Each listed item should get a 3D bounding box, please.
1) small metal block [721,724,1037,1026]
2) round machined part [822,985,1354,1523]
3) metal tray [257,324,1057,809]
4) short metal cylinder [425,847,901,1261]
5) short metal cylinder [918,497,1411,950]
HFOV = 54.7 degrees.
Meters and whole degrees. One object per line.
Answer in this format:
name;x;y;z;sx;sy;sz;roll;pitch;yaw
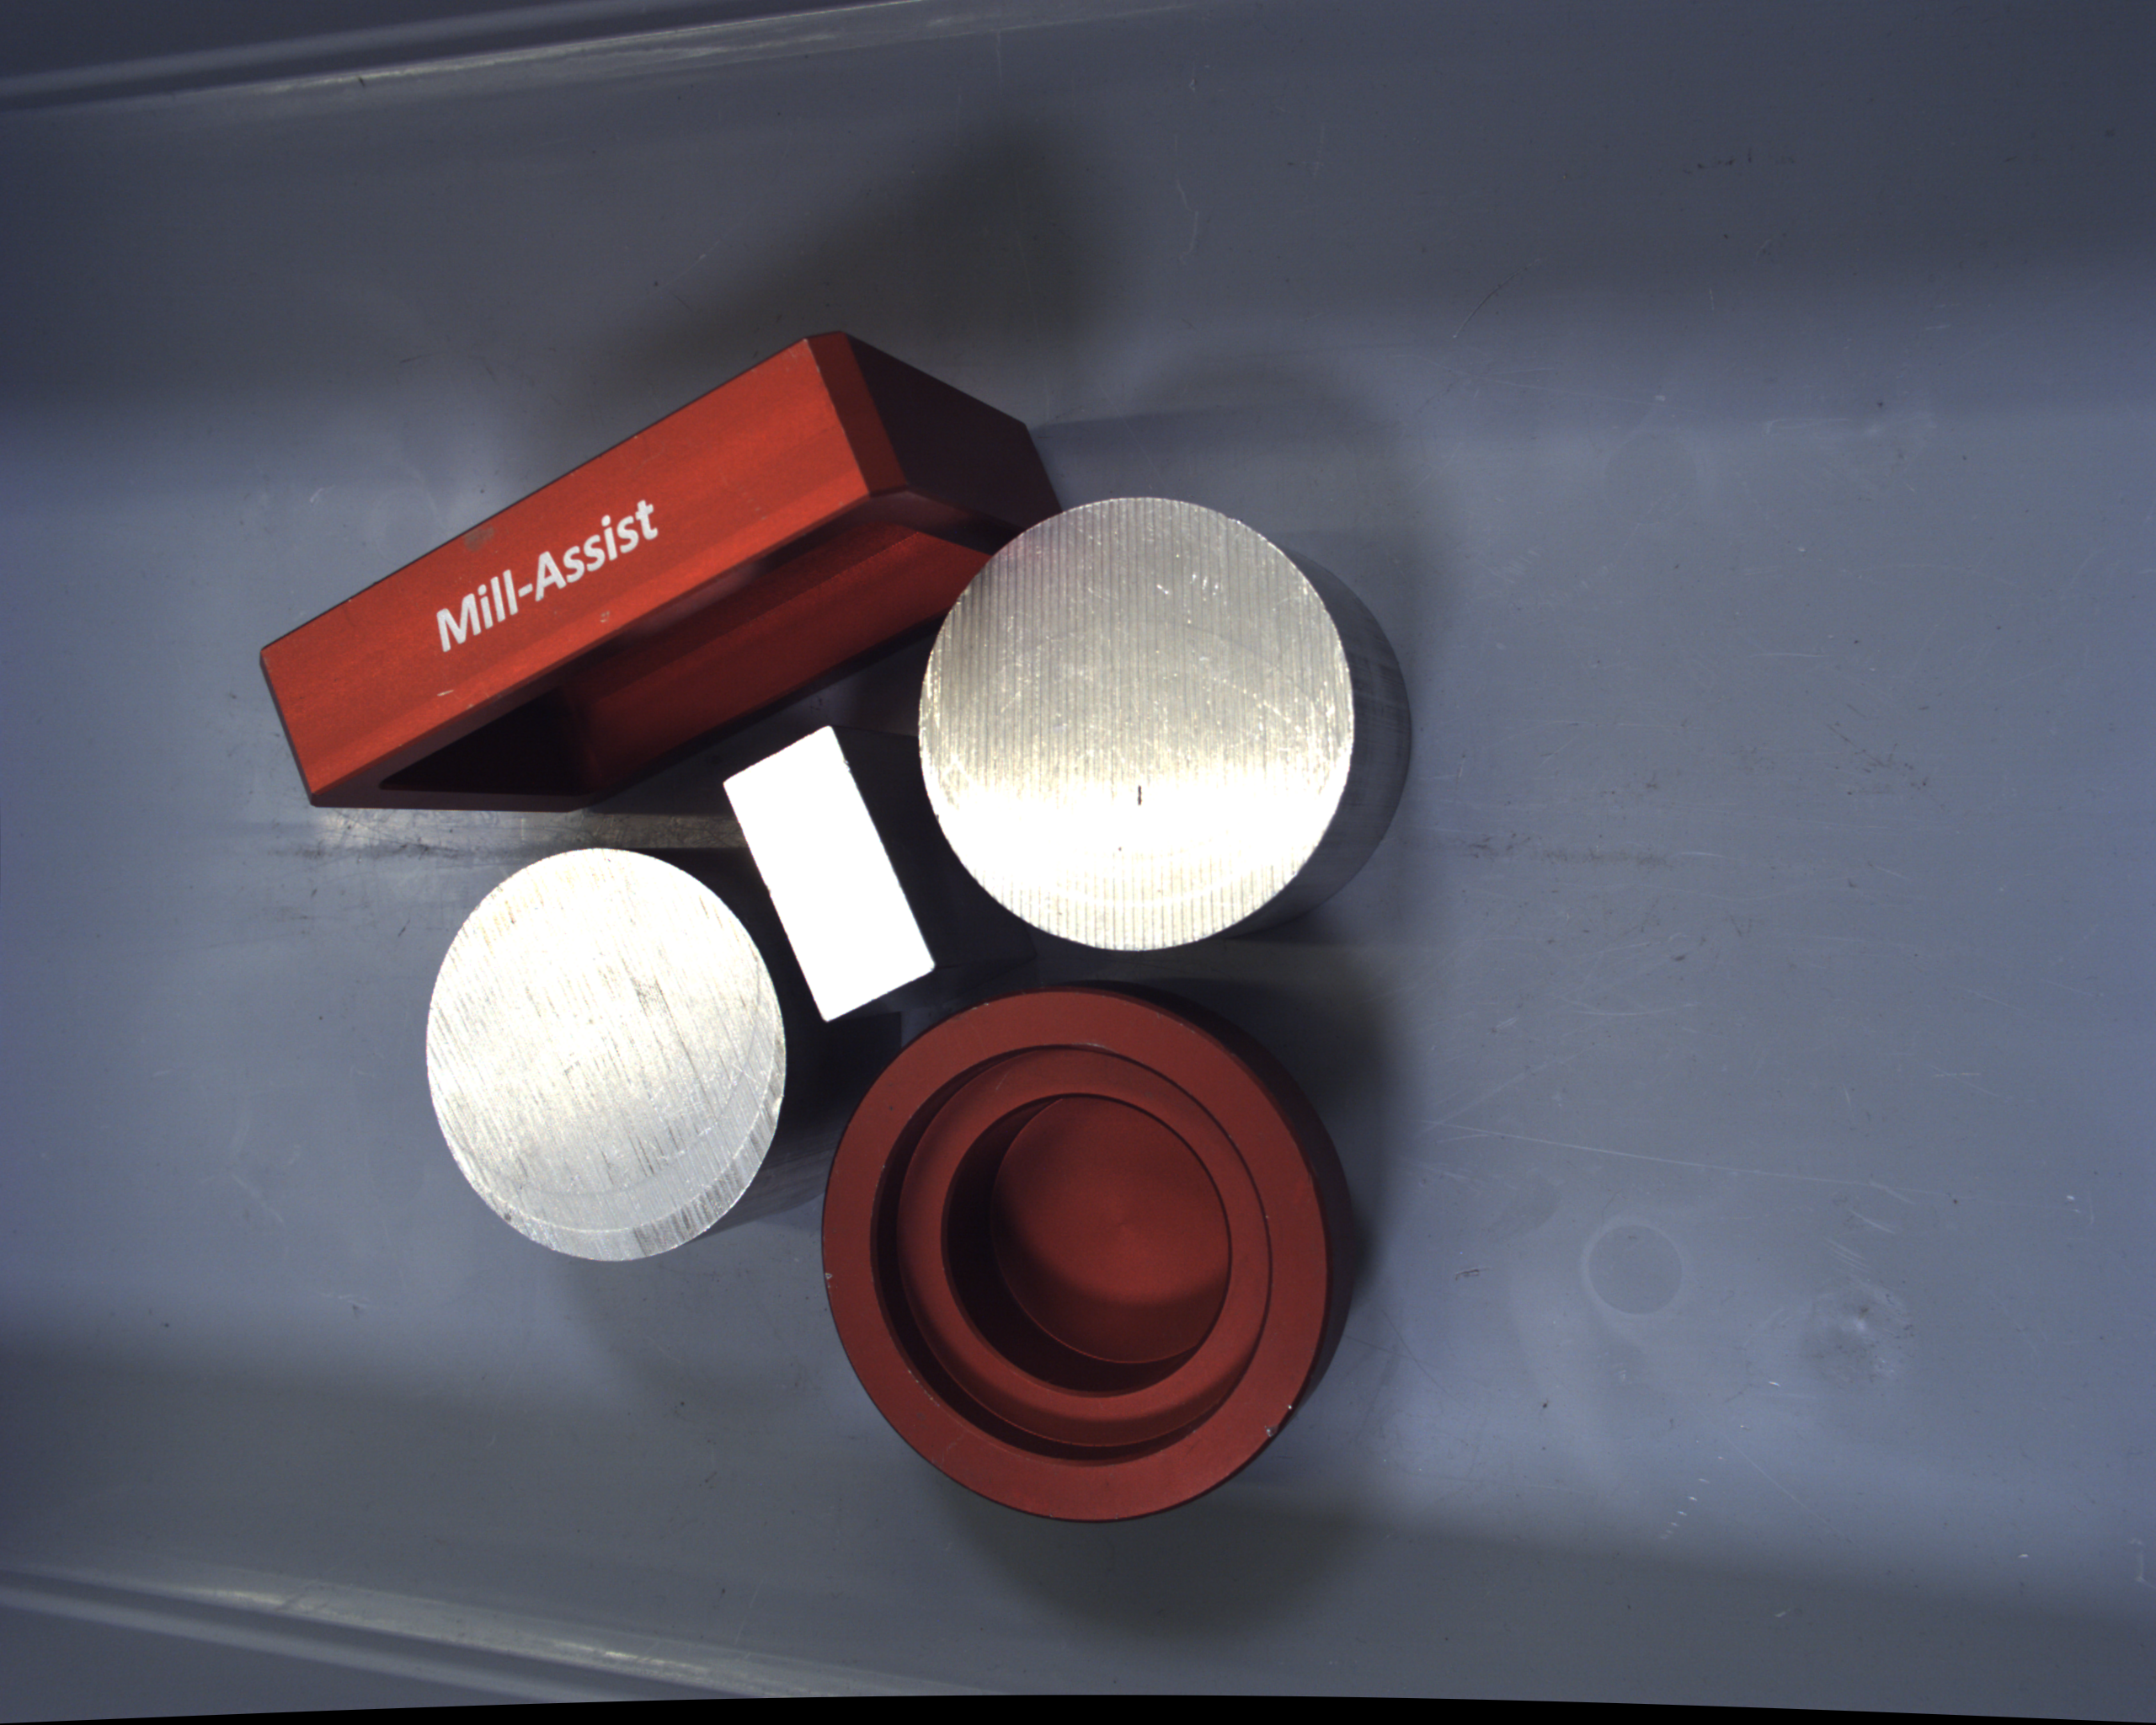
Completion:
small metal block;-0.038;0.002;0.408;0.025;0.050;0.050;-27;81;18
round machined part;0.005;0.071;0.397;0.098;0.042;0.097;0;90;19
metal tray;-0.076;-0.050;0.400;0.130;0.090;0.030;-25;82;19
short metal cylinder;-0.083;0.037;0.424;0.080;0.050;0.079;0;90;20
short metal cylinder;0.017;-0.024;0.389;0.080;0.050;0.079;0;90;20
